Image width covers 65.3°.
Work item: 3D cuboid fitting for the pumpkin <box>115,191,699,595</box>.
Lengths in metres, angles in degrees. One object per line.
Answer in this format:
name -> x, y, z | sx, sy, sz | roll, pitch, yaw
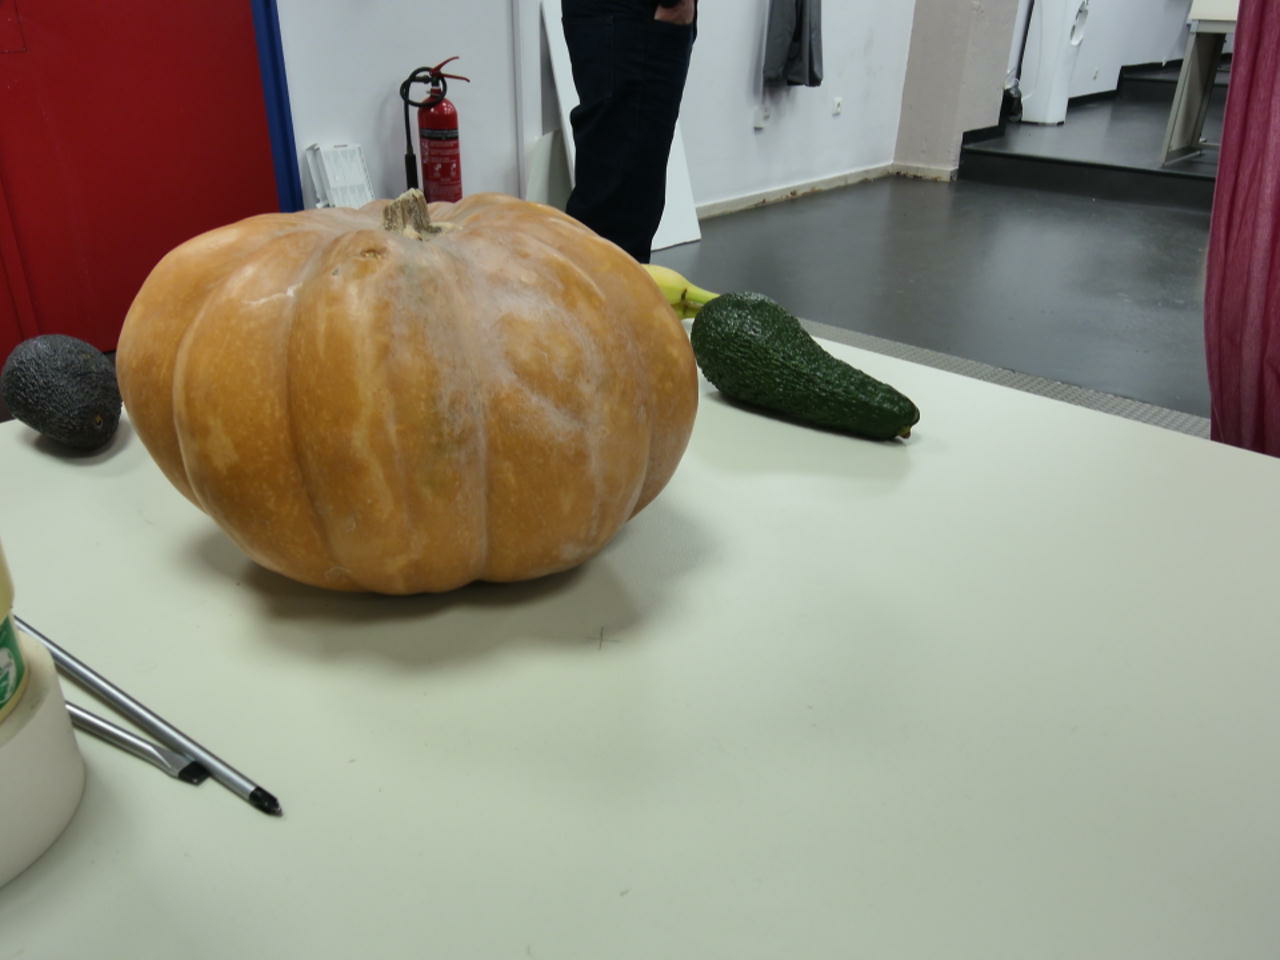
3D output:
pumpkin -> -0.108, -0.050, 0.501 | 0.277, 0.181, 0.277 | 0, 25, 0
